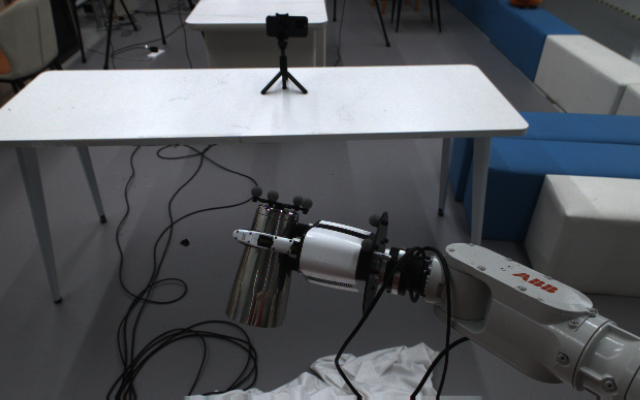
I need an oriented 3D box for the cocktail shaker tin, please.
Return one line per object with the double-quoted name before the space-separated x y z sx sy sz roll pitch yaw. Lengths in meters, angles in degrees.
"cocktail shaker tin" -0.079 0.095 0.740 0.093 0.170 0.093 13 1 0
